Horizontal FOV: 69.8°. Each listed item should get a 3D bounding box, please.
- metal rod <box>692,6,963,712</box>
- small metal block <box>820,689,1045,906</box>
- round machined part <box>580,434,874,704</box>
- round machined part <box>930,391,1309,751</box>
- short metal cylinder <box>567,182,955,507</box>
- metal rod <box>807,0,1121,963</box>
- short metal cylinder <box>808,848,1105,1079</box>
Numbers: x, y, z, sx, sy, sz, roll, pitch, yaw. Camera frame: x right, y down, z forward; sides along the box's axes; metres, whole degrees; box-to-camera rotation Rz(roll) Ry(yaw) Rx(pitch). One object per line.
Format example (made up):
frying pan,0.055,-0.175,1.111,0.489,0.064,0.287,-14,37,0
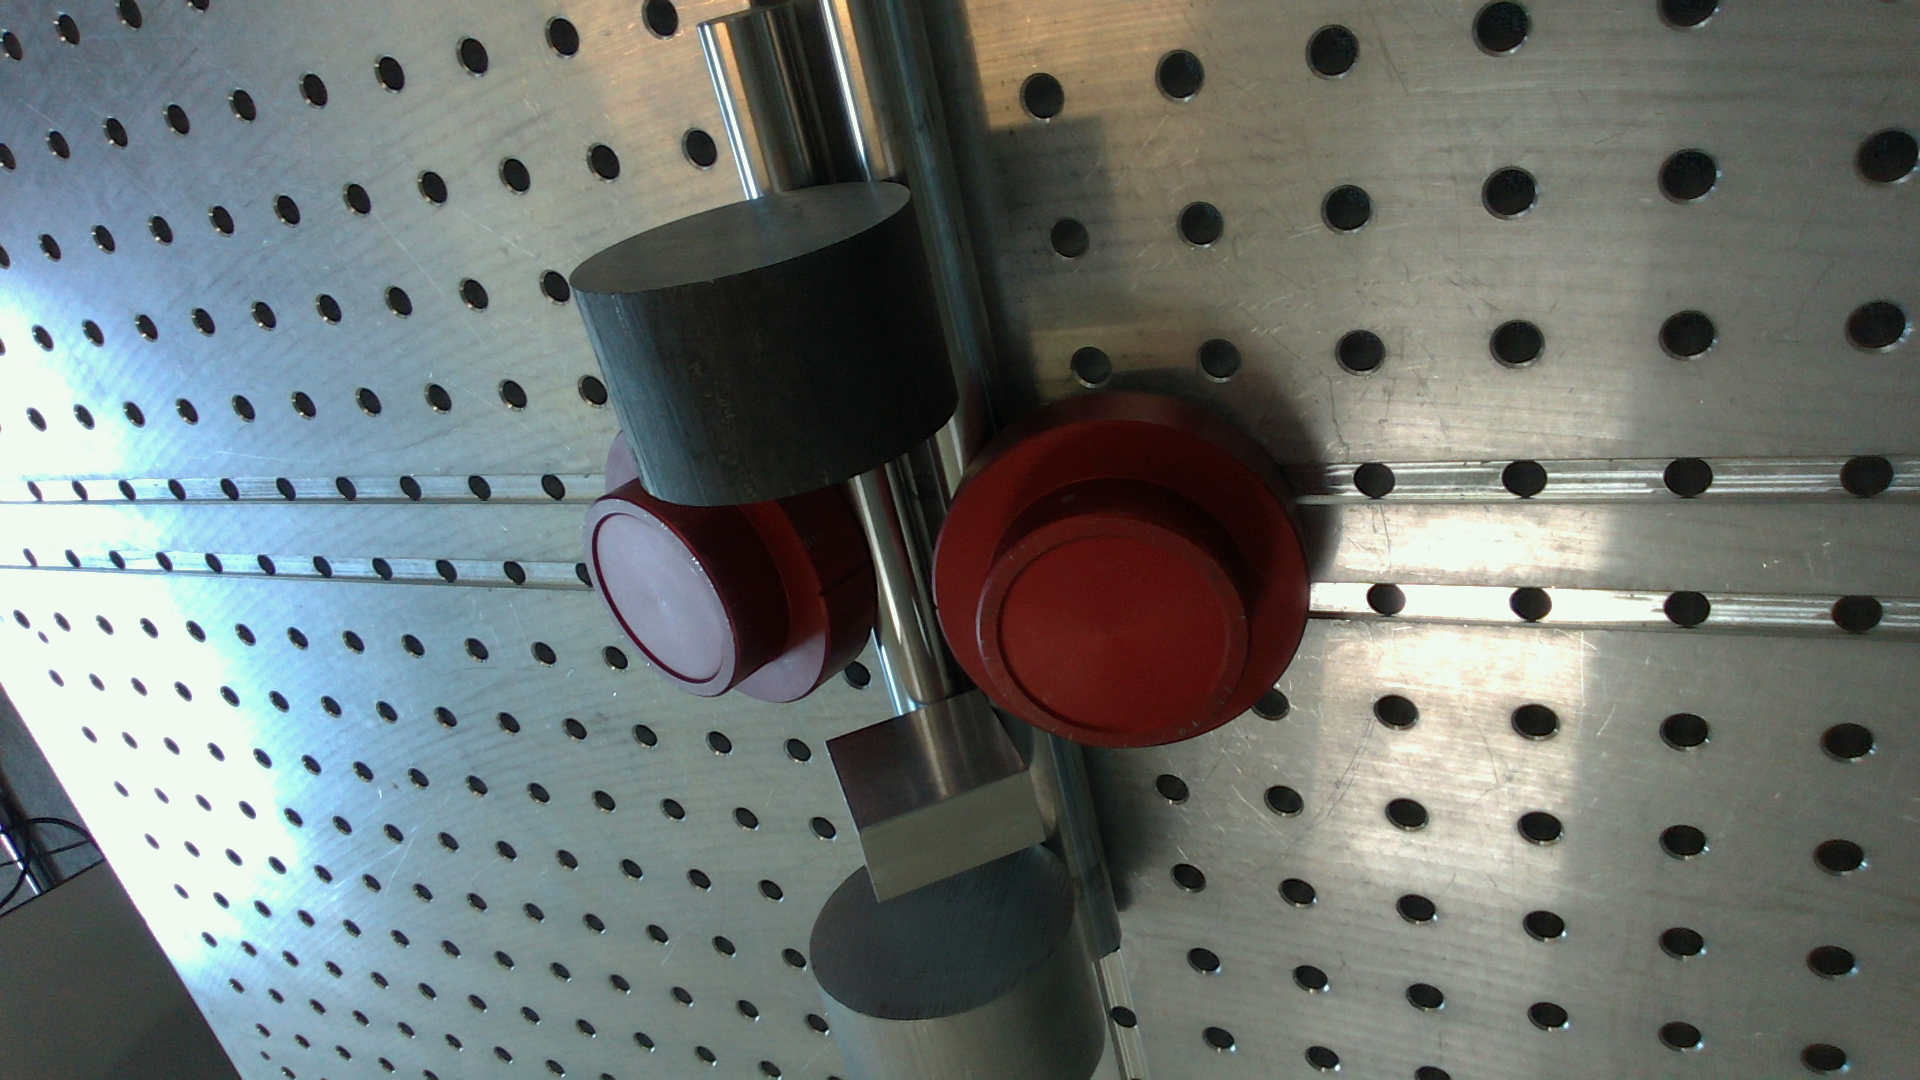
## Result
metal rod,-0.022,0.001,0.408,0.025,0.025,0.300,1,119,28
small metal block,-0.009,0.073,0.400,0.050,0.050,0.025,-18,115,-10
round machined part,-0.076,0.008,0.415,0.098,0.042,0.098,25,133,30
round machined part,0.040,0.015,0.355,0.098,0.042,0.098,5,118,9
short metal cylinder,-0.045,-0.048,0.326,0.080,0.080,0.050,1,119,28
metal rod,0.008,0.000,0.390,0.025,0.025,0.300,1,119,28
short metal cylinder,0.000,0.133,0.415,0.080,0.080,0.050,1,119,28
